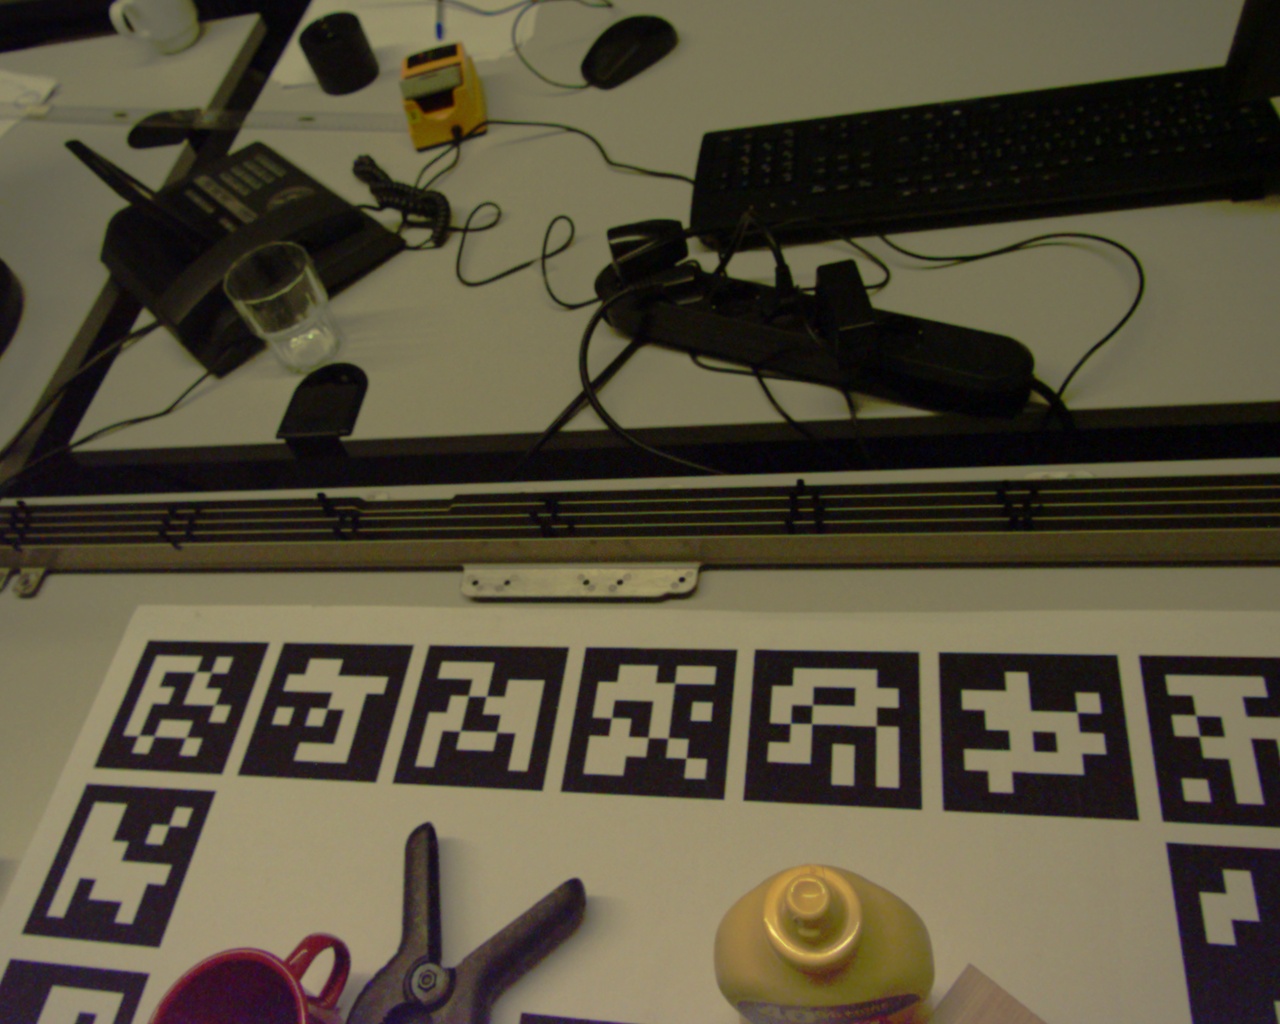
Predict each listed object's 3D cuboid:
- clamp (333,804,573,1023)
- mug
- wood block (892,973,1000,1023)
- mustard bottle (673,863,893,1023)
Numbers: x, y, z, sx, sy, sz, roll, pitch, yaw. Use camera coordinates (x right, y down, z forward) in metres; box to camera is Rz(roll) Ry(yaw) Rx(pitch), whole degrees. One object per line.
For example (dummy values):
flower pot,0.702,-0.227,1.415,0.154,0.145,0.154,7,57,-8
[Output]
clamp,-0.125,0.264,0.659,0.123,0.036,0.164,17,62,24
mug,-0.211,0.294,0.654,0.094,0.081,0.117,19,63,27
wood block,0.105,0.327,0.512,0.205,0.090,0.091,-42,53,-19
mustard bottle,0.067,0.211,0.539,0.097,0.190,0.058,-5,53,12
